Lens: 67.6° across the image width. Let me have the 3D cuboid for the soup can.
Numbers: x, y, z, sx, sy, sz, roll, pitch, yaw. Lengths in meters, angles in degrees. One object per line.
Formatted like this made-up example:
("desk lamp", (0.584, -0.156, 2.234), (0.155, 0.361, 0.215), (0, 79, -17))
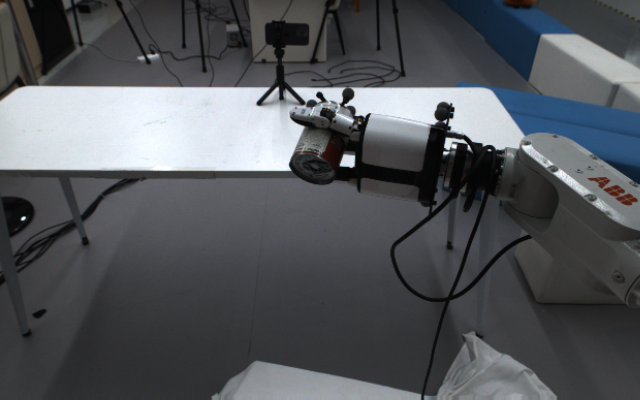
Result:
("soup can", (0.004, -0.083, 0.685), (0.067, 0.067, 0.101), (12, 59, 14))
